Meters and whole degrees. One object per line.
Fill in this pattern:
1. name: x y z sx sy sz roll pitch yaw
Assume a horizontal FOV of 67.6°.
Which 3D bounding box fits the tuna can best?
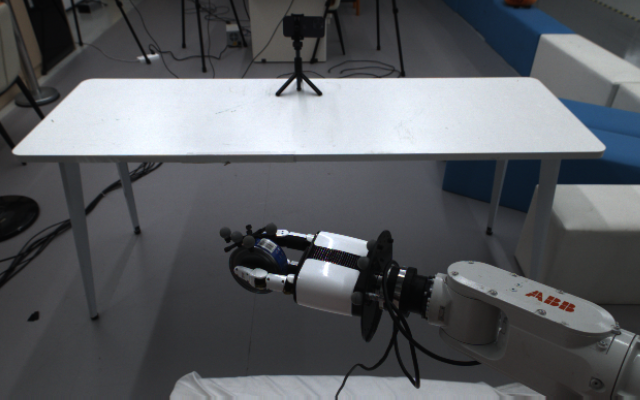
1. tuna can: -0.086 0.100 0.736 0.085 0.085 0.034 13 28 15
